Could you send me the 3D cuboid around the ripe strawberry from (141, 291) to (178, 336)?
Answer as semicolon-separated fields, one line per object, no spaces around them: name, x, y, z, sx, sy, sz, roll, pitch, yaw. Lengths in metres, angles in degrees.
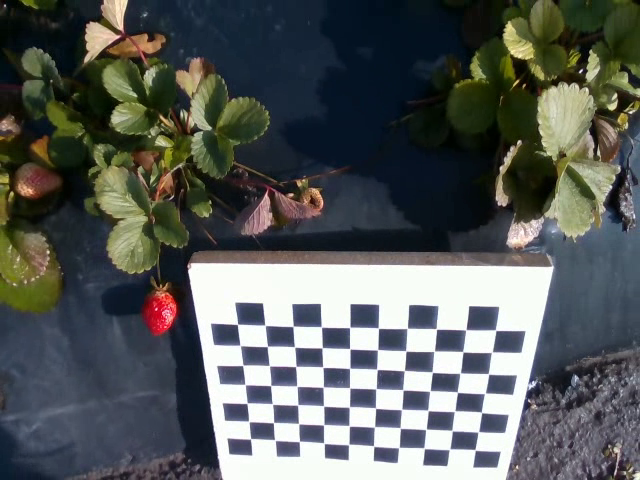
ripe strawberry;-0.124;0.058;0.468;0.034;0.038;0.033;0;-20;6
